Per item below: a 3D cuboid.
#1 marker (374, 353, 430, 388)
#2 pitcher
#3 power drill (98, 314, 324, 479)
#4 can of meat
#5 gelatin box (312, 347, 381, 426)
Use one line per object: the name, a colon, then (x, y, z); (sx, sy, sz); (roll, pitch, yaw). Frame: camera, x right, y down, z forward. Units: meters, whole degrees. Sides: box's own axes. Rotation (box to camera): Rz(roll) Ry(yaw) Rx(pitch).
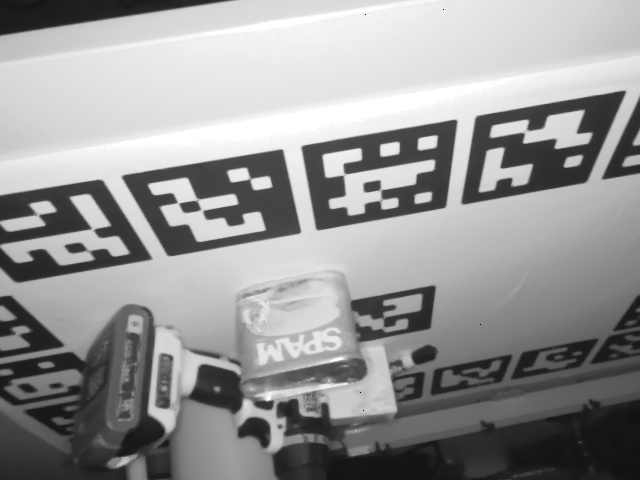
marker: (0.064, 0.153, 0.761); (0.120, 0.020, 0.020); (-26, 140, 17)
pitcher: (-0.121, 0.232, 0.646); (0.191, 0.243, 0.131); (8, 136, -33)
power drill: (-0.082, 0.146, 0.581); (0.189, 0.186, 0.056); (20, 131, -26)
can of meat: (-0.025, 0.061, 0.563); (0.102, 0.084, 0.057); (-9, 145, -2)
gelatin box: (0.011, 0.147, 0.700); (0.090, 0.073, 0.030); (0, 138, -11)
